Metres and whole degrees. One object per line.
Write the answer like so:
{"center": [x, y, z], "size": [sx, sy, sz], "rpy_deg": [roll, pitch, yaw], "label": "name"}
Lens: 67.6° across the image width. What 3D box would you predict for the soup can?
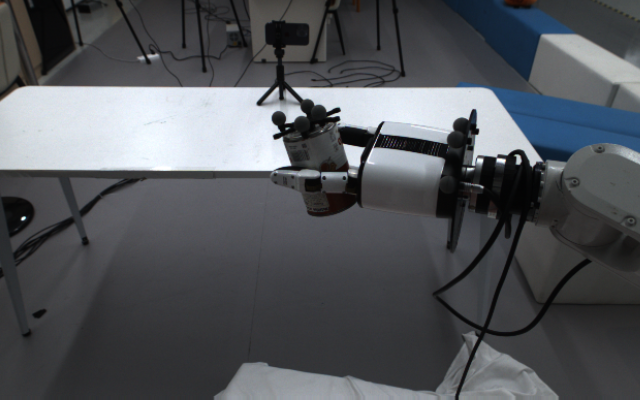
{"center": [0.003, -0.040, 0.583], "size": [0.067, 0.101, 0.067], "rpy_deg": [-16, 23, 7], "label": "soup can"}
